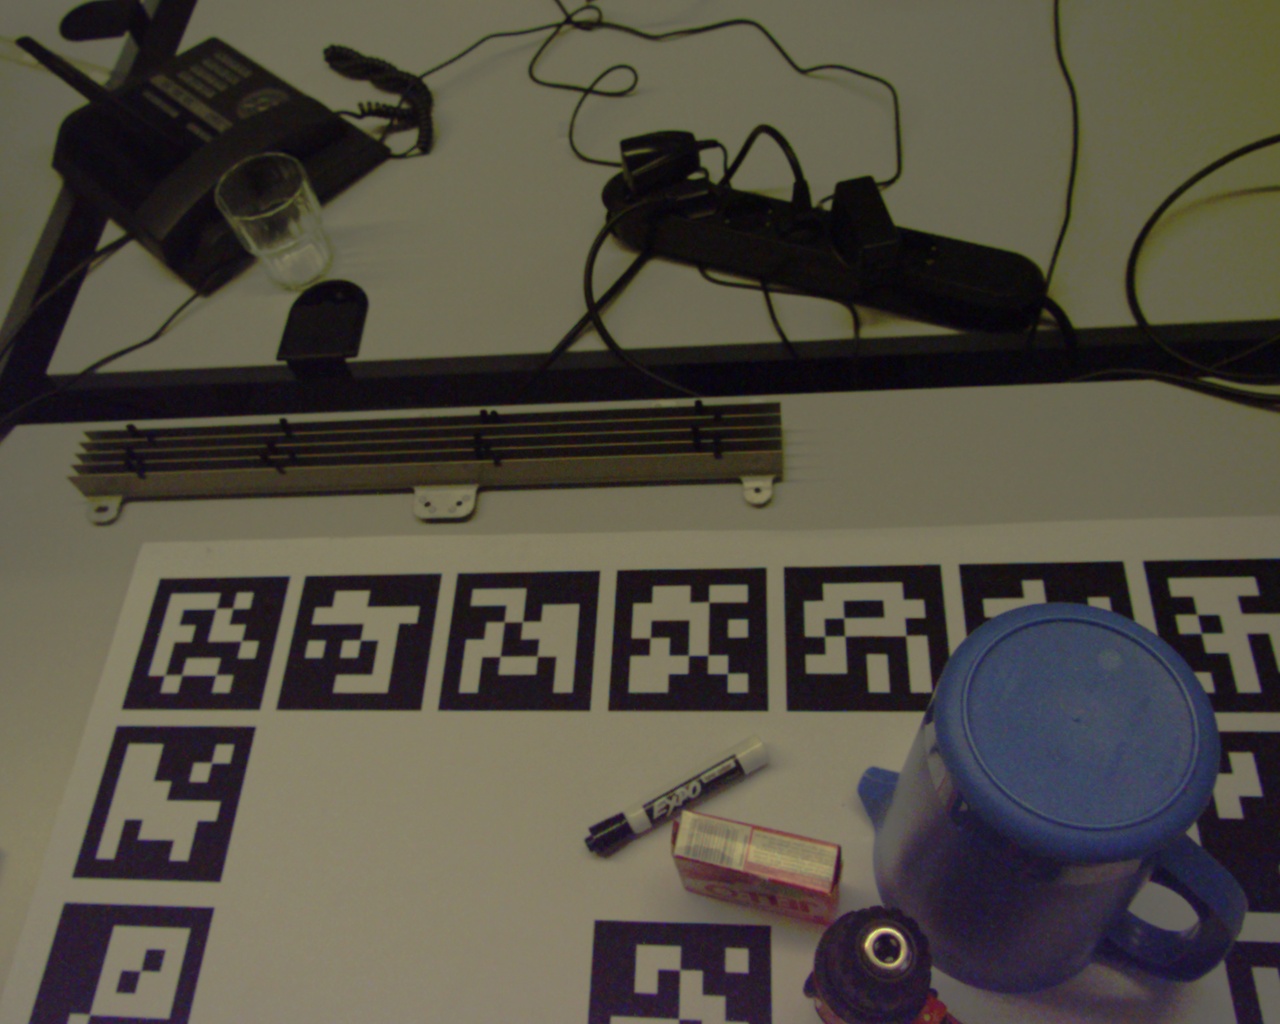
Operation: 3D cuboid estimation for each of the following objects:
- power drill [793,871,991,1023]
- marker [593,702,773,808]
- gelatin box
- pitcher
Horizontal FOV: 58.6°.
[{"bbox_3d":[0.162,0.249,0.560,0.188,0.184,0.057,34,73,16],"label":"power drill"},{"bbox_3d":[0.026,0.155,0.722,0.121,0.019,0.020,-25,62,-4],"label":"marker"},{"bbox_3d":[0.075,0.190,0.668,0.090,0.073,0.030,9,67,11],"label":"gelatin box"},{"bbox_3d":[0.211,0.147,0.582,0.191,0.240,0.133,27,71,27],"label":"pitcher"}]
